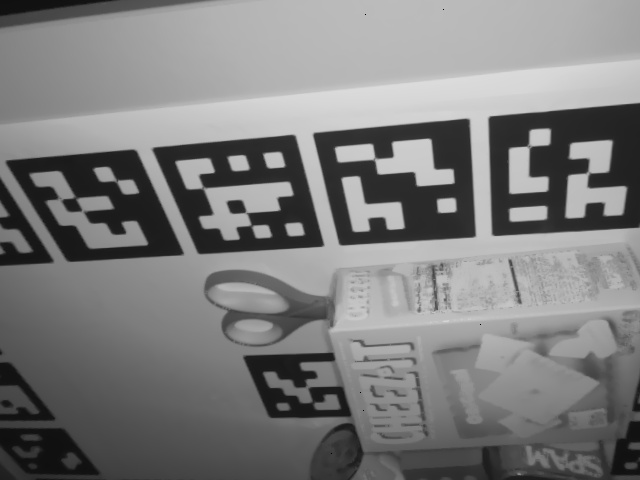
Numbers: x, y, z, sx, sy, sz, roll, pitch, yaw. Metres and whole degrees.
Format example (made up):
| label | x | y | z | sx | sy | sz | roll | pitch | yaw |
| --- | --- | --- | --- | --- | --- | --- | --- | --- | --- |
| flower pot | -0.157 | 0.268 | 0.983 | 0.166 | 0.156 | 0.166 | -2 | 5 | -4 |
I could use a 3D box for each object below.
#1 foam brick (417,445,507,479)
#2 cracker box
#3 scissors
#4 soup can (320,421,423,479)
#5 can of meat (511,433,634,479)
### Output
| label | x | y | z | sx | sy | sz | roll | pitch | yaw |
| --- | --- | --- | --- | --- | --- | --- | --- | --- | --- |
| foam brick | 0.136 | 0.209 | 0.670 | 0.077 | 0.052 | 0.052 | -12 | 125 | 16 |
| cracker box | 0.147 | 0.088 | 0.540 | 0.213 | 0.072 | 0.163 | -10 | 127 | 9 |
| scissors | 0.032 | 0.048 | 0.562 | 0.202 | 0.016 | 0.087 | -8 | 126 | 12 |
| soup can | 0.060 | 0.235 | 0.699 | 0.102 | 0.068 | 0.067 | 36 | 124 | -26 |
| can of meat | 0.222 | 0.190 | 0.621 | 0.102 | 0.084 | 0.057 | 8 | 128 | 1 |
